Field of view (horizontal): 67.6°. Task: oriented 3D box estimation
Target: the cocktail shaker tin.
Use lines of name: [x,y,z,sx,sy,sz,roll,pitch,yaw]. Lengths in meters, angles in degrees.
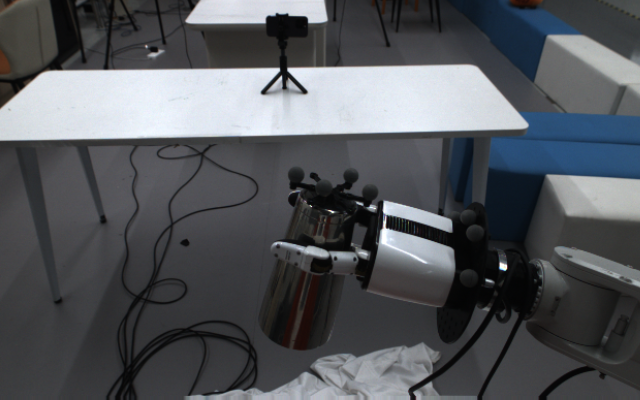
cocktail shaker tin: [-0.006,0.072,0.553,0.093,0.170,0.093,12,25,-6]
